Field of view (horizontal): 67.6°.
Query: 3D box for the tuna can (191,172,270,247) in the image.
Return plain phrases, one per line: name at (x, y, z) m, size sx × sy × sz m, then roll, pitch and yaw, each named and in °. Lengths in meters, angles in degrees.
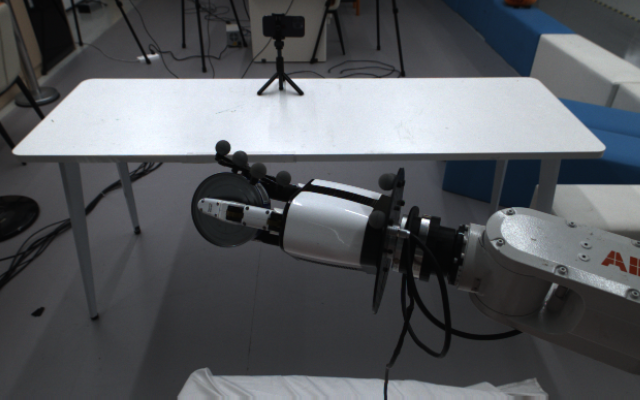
tuna can at (-0.099, 0.010, 0.557) m, size 0.085 × 0.085 × 0.034 m, roll 10°, pitch 4°, yaw 11°
